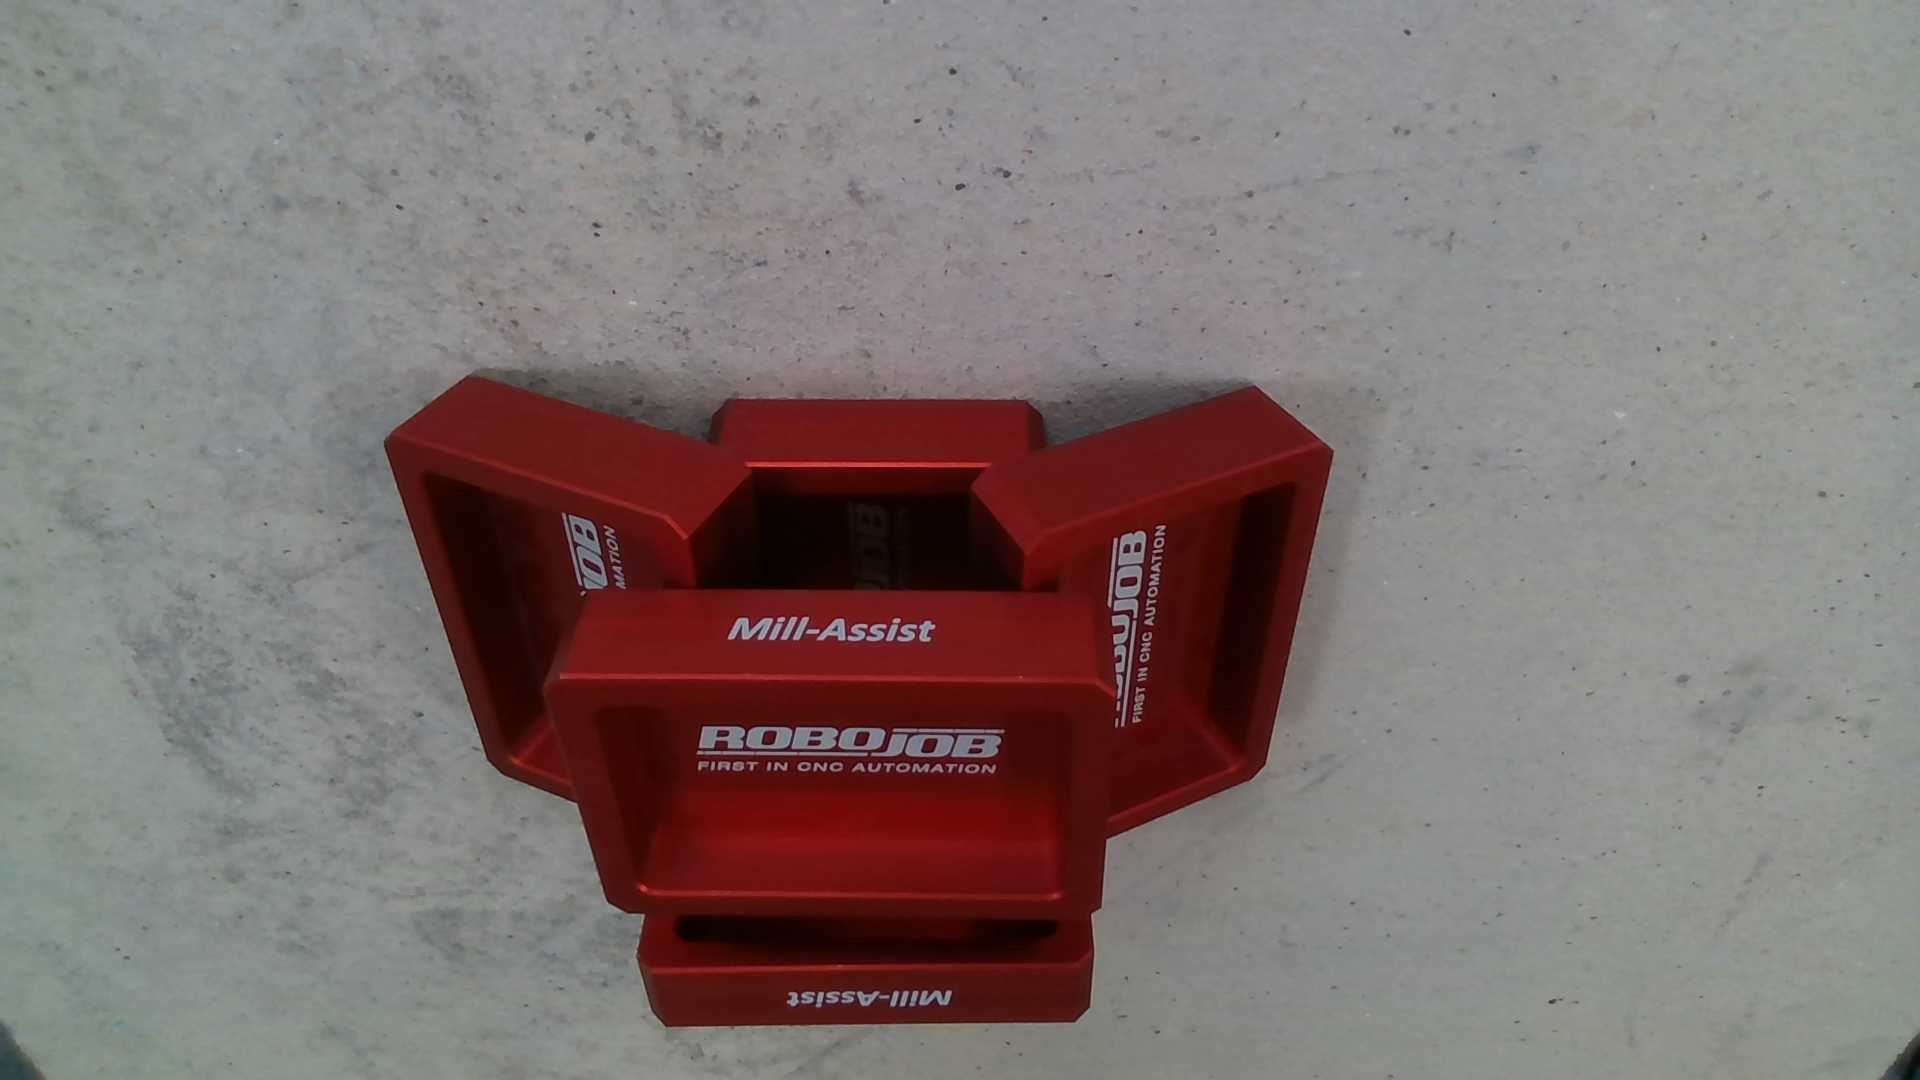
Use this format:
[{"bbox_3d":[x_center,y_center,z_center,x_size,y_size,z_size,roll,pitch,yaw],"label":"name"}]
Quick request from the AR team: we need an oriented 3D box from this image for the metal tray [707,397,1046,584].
[{"bbox_3d":[-0.022,0.021,0.401,0.090,0.030,0.130,0,130,2],"label":"metal tray"}]

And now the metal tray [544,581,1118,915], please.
[{"bbox_3d":[-0.028,0.054,0.347,0.130,0.030,0.090,1,130,2],"label":"metal tray"}]

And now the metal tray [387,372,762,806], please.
[{"bbox_3d":[-0.099,0.024,0.384,0.090,0.030,0.130,17,133,19],"label":"metal tray"}]

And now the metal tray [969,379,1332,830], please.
[{"bbox_3d":[0.049,0.027,0.385,0.090,0.030,0.130,-18,134,-20],"label":"metal tray"}]

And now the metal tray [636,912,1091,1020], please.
[{"bbox_3d":[-0.027,0.102,0.432,0.130,0.090,0.030,0,130,1],"label":"metal tray"}]
